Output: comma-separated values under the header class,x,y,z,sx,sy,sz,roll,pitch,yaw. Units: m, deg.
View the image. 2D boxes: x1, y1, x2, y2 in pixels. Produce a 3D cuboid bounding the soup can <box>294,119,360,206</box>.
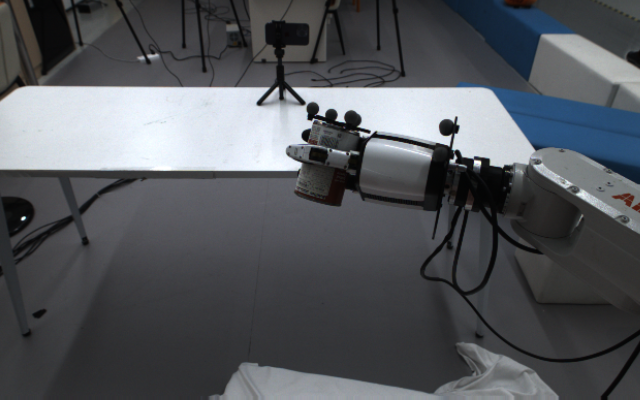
class,x,y,z,sx,sy,sz,roll,pitch,yaw
soup can,0.010,-0.049,0.655,0.067,0.101,0.067,15,7,-2
